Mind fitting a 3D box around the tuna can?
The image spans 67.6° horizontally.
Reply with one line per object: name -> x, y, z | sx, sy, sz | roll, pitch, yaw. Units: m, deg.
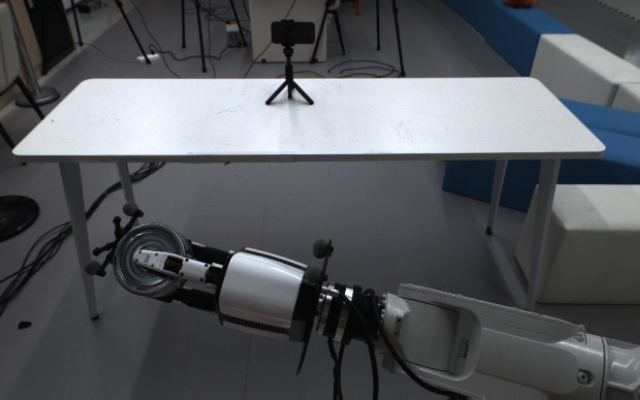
tuna can -> -0.193, 0.070, 0.568 | 0.085, 0.034, 0.085 | 0, 75, -1
